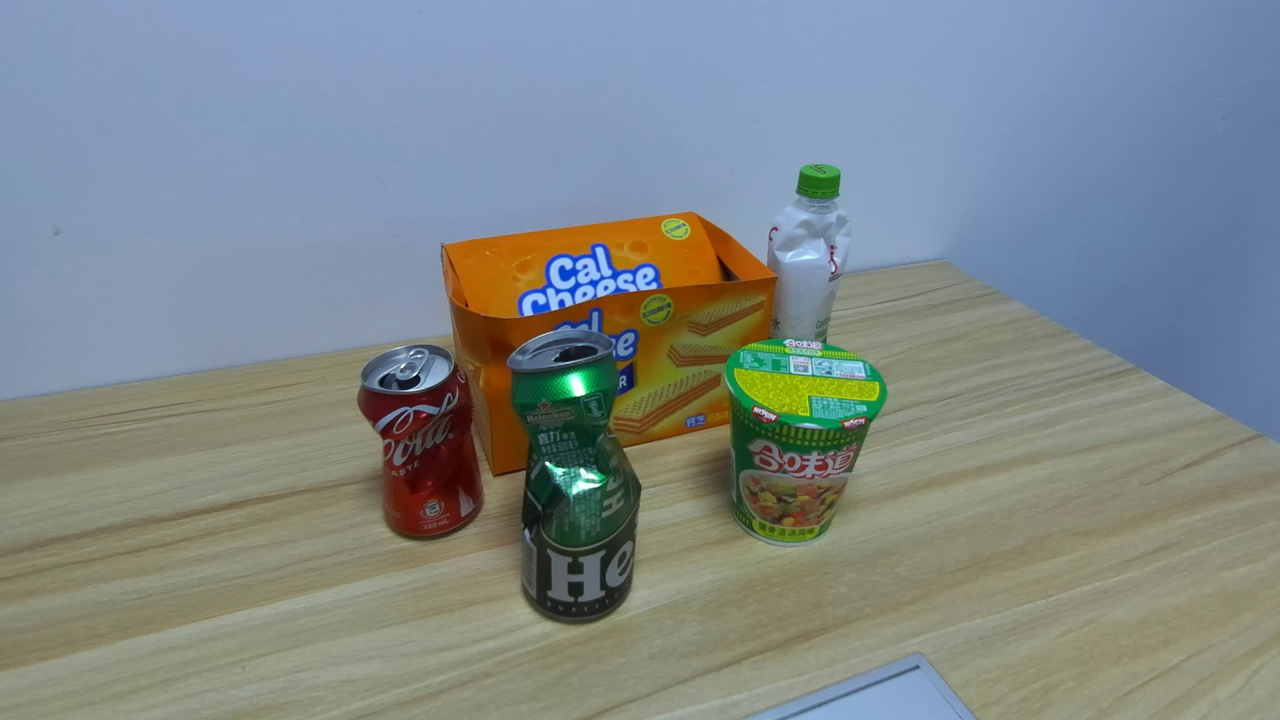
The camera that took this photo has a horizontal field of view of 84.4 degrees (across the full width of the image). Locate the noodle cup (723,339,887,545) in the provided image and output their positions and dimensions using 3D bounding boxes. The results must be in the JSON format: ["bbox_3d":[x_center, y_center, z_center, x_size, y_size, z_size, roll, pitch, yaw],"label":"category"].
[{"bbox_3d":[0.096,0.056,0.451,0.097,0.110,0.097,2,33,-1],"label":"noodle cup"}]

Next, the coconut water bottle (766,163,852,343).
[{"bbox_3d":[0.133,-0.061,0.568,0.069,0.186,0.069,4,30,-2],"label":"coconut water bottle"}]

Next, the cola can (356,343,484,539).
[{"bbox_3d":[-0.138,0.051,0.451,0.066,0.117,0.066,-16,34,-25],"label":"cola can"}]

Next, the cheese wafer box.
[{"bbox_3d":[-0.029,-0.021,0.561,0.231,0.132,0.151,-10,35,-19],"label":"cheese wafer box"}]

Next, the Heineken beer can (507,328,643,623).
[{"bbox_3d":[-0.034,0.066,0.390,0.078,0.159,0.067,20,32,39],"label":"Heineken beer can"}]
